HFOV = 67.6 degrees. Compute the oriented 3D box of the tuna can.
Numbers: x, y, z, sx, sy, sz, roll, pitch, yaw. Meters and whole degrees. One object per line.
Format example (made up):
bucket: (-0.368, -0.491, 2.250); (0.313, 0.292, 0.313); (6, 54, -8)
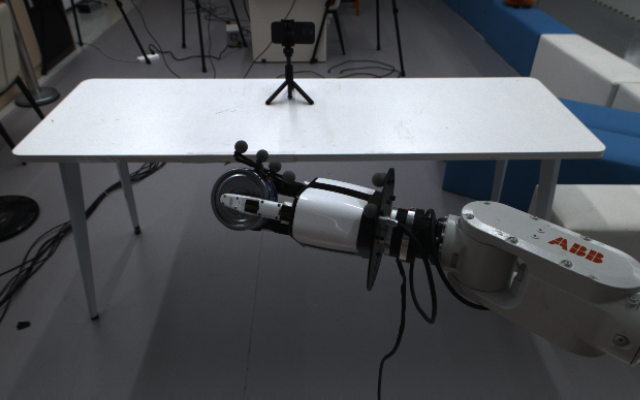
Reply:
tuna can: (-0.100, 0.005, 0.652); (0.085, 0.085, 0.034); (12, 4, 15)
